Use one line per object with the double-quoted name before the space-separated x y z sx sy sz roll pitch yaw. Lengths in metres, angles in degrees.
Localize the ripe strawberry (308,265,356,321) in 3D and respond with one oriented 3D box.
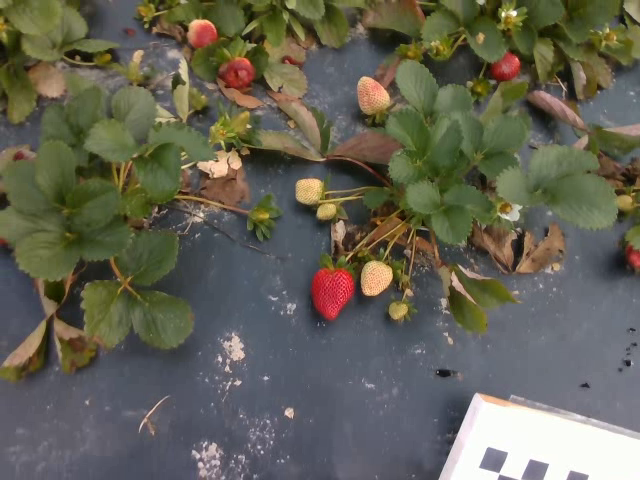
"ripe strawberry" 0.011 0.050 0.608 0.050 0.059 0.033 6 -39 -6
